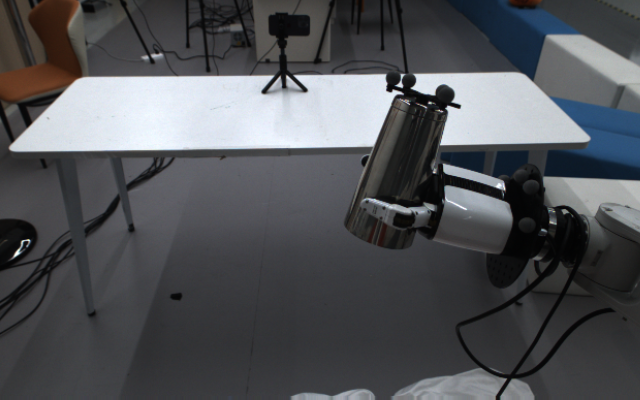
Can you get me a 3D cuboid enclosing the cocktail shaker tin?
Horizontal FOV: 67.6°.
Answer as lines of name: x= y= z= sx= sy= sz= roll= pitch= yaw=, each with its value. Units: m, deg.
cocktail shaker tin: x=0.097 y=-0.036 z=0.595 sx=0.093 sy=0.170 sz=0.093 roll=14 pitch=20 yaw=-5
